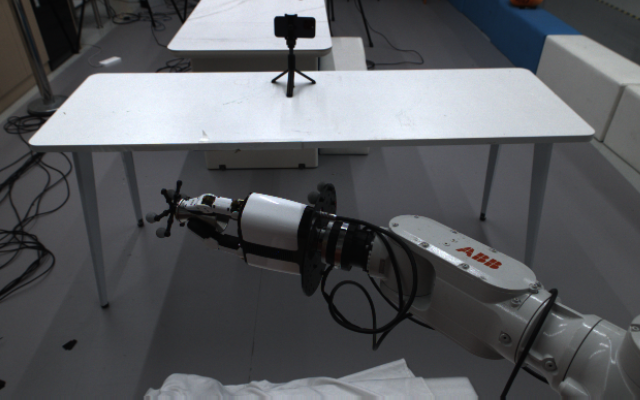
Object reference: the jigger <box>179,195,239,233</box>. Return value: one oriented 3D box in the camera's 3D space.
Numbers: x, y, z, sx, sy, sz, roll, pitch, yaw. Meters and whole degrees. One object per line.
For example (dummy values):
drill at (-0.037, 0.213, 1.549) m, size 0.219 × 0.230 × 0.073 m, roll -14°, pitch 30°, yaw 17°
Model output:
jigger at (-0.170, 0.017, 0.724) m, size 0.071 × 0.043 × 0.043 m, roll 10°, pitch 35°, yaw 16°
